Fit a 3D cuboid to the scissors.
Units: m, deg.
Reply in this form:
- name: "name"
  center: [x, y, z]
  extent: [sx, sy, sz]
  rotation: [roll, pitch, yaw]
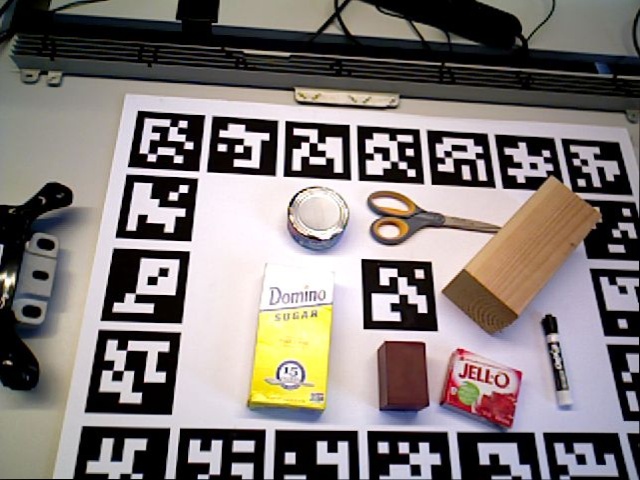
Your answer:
- name: "scissors"
  center: [0.163, -0.017, 0.783]
  extent: [0.202, 0.016, 0.086]
  rotation: [9, 66, 1]

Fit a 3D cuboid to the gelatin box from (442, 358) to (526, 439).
- name: "gelatin box"
  center: [0.207, 0.199, 0.686]
  extent: [0.089, 0.030, 0.072]
  rotation: [20, 67, 3]

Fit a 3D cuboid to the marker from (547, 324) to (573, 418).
- name: "marker"
  center: [0.315, 0.170, 0.713]
  extent: [0.019, 0.020, 0.120]
  rotation: [4, 69, -5]

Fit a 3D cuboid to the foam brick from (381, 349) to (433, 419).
- name: "foam brick"
  center: [0.106, 0.179, 0.669]
  extent: [0.052, 0.052, 0.077]
  rotation: [5, 67, -4]

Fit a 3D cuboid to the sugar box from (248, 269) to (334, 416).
- name: "sugar box"
  center: [-0.034, 0.128, 0.686]
  extent: [0.092, 0.046, 0.174]
  rotation: [7, 66, -4]

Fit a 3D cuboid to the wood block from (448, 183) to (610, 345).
- name: "wood block"
  center: [0.282, 0.032, 0.735]
  extent: [0.090, 0.092, 0.203]
  rotation: [43, 68, 14]

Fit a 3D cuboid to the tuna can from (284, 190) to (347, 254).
- name: "tuna can"
  center: [-0.007, -0.024, 0.756]
  extent: [0.085, 0.034, 0.085]
  rotation: [2, 67, -5]
